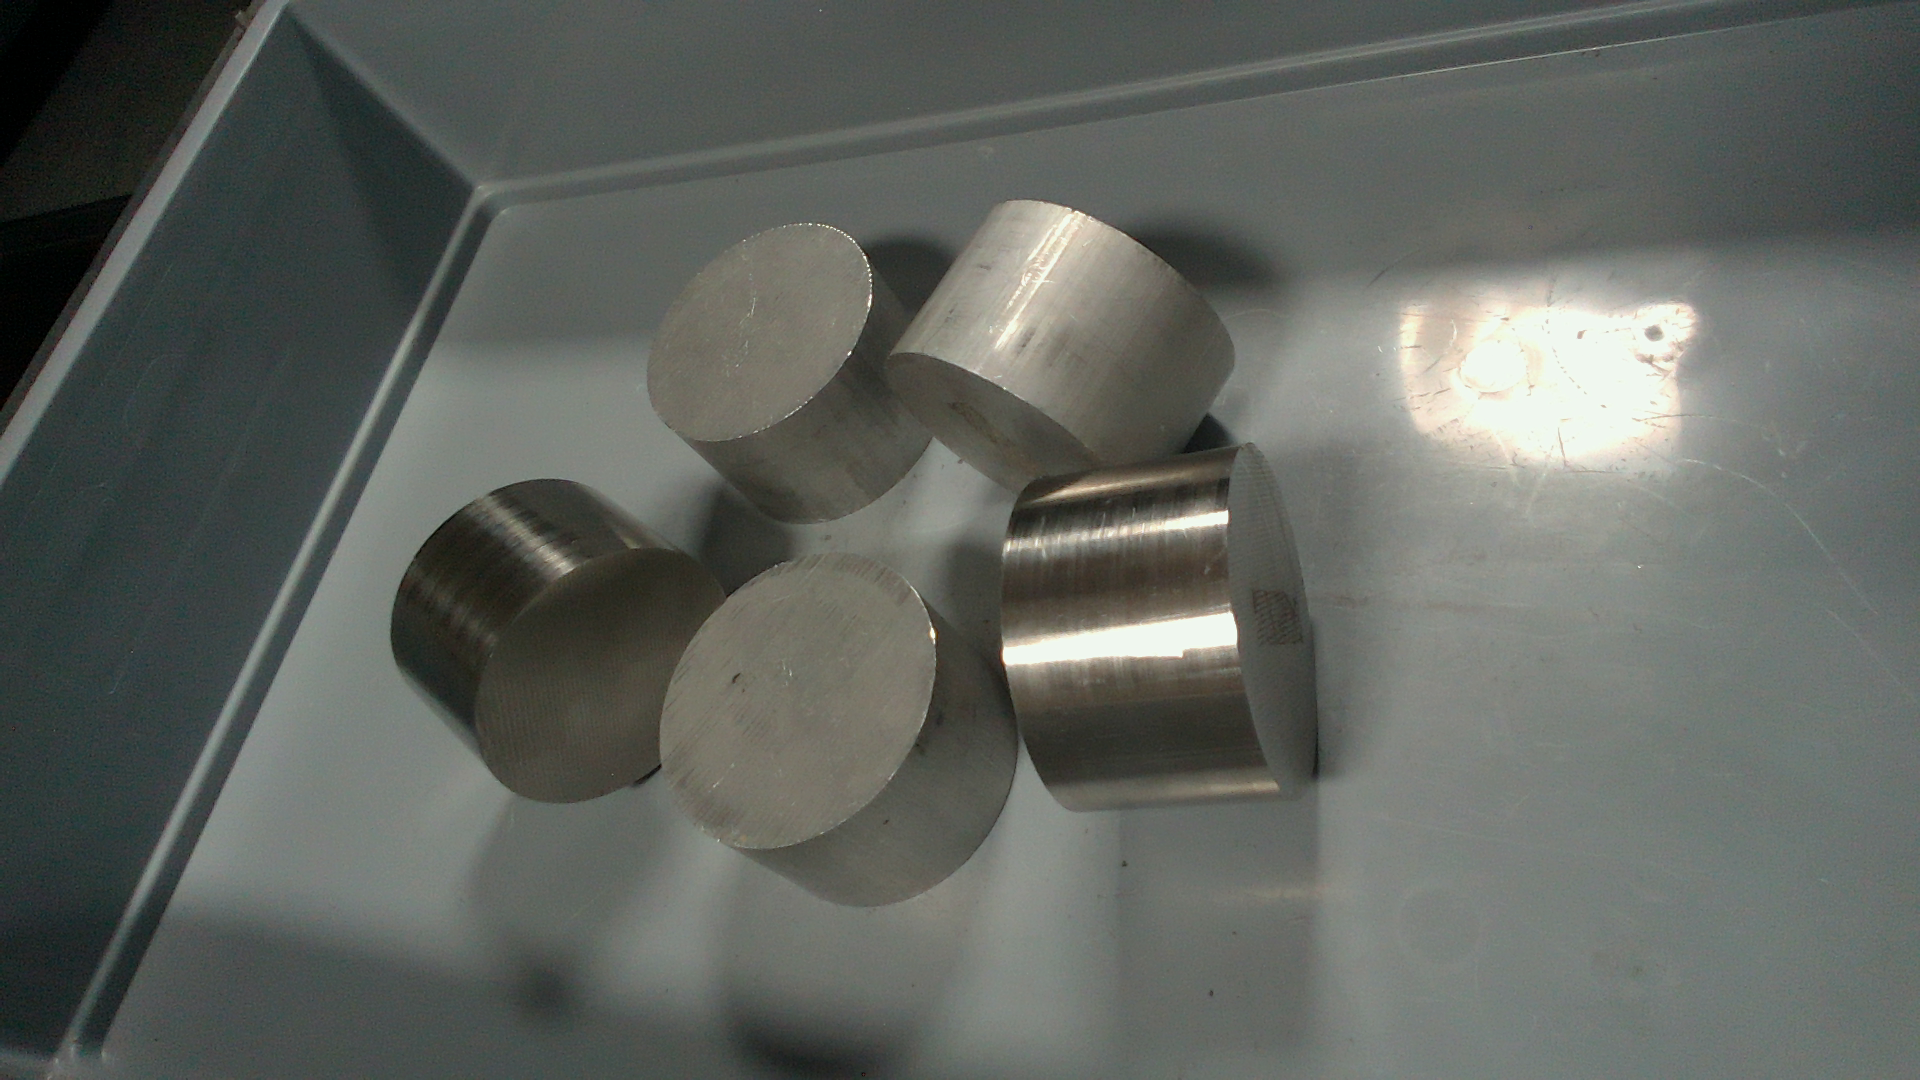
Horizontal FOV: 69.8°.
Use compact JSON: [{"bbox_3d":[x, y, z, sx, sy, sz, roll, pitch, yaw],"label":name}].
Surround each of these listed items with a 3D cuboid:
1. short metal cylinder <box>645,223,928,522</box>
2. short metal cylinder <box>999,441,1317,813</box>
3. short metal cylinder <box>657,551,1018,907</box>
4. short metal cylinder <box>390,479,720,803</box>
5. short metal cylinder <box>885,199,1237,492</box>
[{"bbox_3d":[-0.052,-0.053,0.437,0.080,0.050,0.080,-14,56,21],"label":"short metal cylinder"},{"bbox_3d":[0.048,0.021,0.317,0.050,0.080,0.080,-9,58,24],"label":"short metal cylinder"},{"bbox_3d":[-0.031,0.050,0.362,0.080,0.050,0.080,-14,56,21],"label":"short metal cylinder"},{"bbox_3d":[-0.116,0.029,0.401,0.050,0.080,0.080,30,78,38],"label":"short metal cylinder"},{"bbox_3d":[0.027,-0.046,0.372,0.080,0.080,0.050,24,75,37],"label":"short metal cylinder"}]
